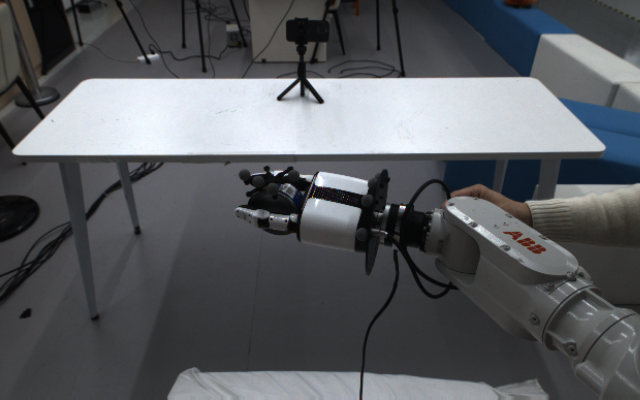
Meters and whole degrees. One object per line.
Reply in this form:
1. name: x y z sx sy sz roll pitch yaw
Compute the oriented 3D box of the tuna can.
1. tuna can: -0.064 0.012 0.744 0.085 0.085 0.034 11 38 13
